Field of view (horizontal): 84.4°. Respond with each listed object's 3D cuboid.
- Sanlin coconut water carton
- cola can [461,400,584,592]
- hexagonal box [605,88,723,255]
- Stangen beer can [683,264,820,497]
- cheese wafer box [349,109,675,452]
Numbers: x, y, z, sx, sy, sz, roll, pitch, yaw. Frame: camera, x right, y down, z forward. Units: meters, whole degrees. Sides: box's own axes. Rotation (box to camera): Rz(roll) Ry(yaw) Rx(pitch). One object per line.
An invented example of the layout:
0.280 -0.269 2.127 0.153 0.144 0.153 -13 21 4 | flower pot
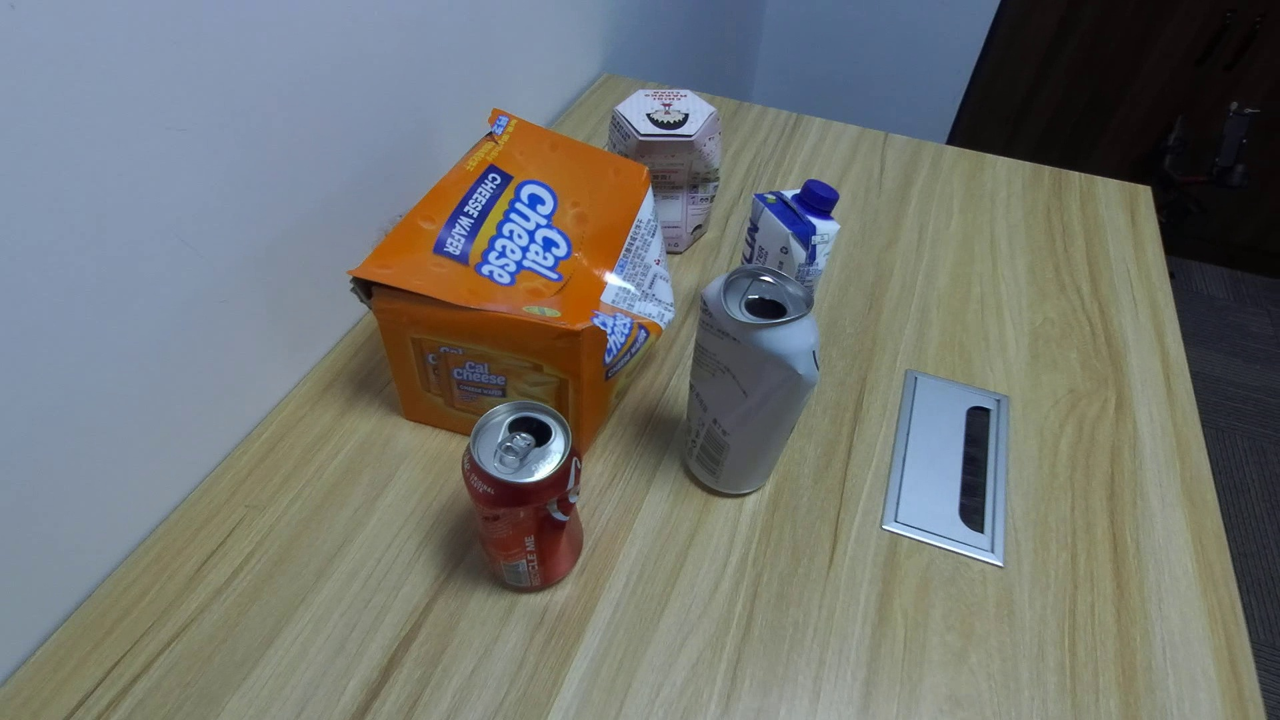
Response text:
0.113 -0.074 0.560 0.058 0.142 0.077 -13 48 -22 | Sanlin coconut water carton
-0.068 0.083 0.422 0.066 0.117 0.066 -17 49 -18 | cola can
0.023 -0.168 0.650 0.091 0.134 0.090 32 55 24 | hexagonal box
0.069 0.019 0.456 0.077 0.162 0.066 12 46 8 | Stangen beer can
-0.067 -0.062 0.539 0.191 0.145 0.219 13 47 10 | cheese wafer box
